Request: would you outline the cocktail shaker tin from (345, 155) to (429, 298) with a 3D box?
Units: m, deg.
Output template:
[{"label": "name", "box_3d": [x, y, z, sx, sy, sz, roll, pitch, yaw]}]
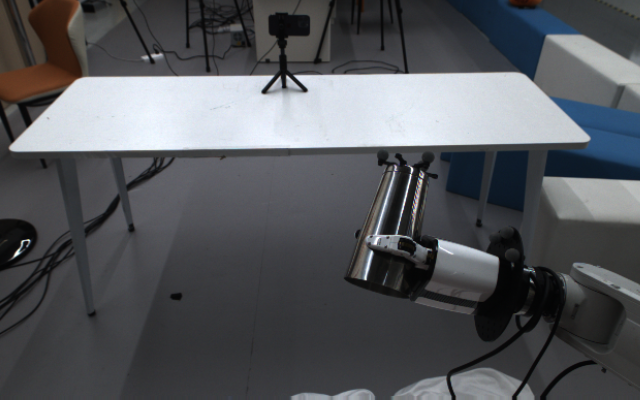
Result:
[{"label": "cocktail shaker tin", "box_3d": [0.100, 0.042, 0.673, 0.093, 0.093, 0.170, 13, 74, 15]}]
